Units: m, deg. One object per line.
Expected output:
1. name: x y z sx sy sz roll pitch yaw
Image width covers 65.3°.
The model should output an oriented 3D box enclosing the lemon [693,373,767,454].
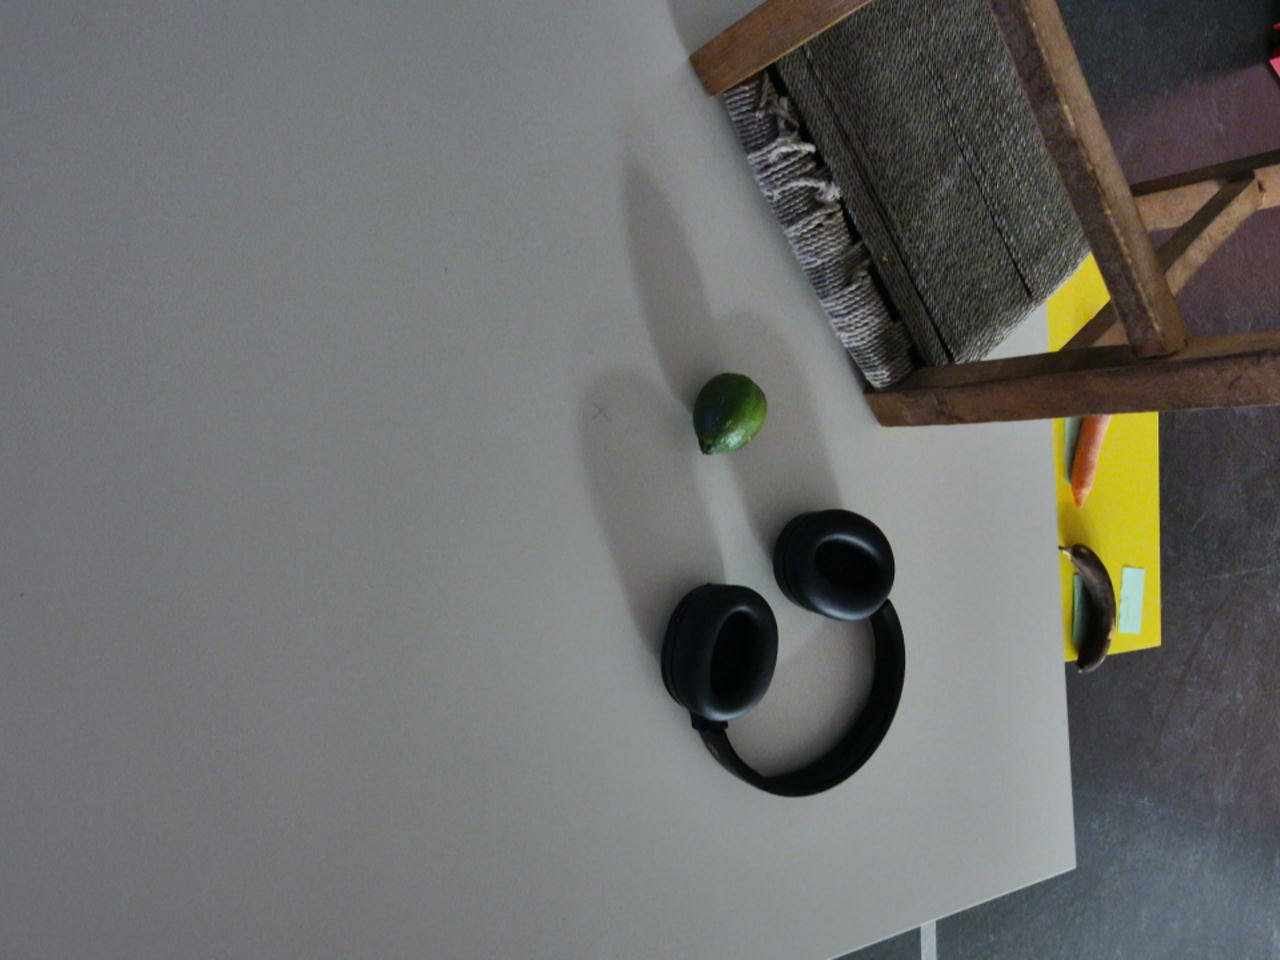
1. lemon: 0.065 -0.049 0.722 0.054 0.051 0.057 -10 95 -28
